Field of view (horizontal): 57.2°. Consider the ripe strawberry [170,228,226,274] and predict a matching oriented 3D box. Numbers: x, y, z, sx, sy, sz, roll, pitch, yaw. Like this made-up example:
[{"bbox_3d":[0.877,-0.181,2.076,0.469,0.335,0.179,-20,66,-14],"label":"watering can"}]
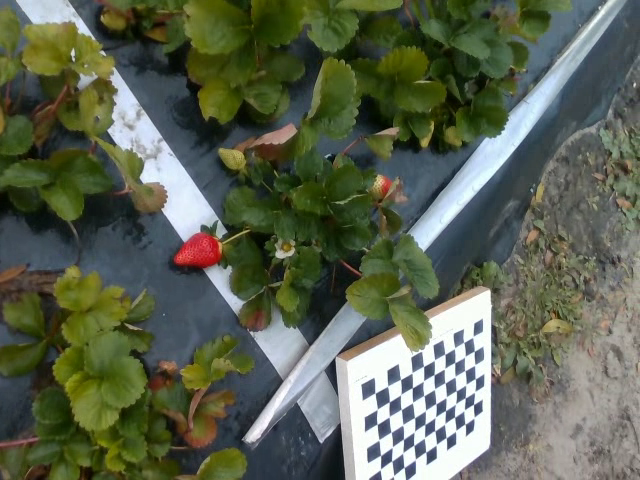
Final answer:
[{"bbox_3d":[-0.123,0.013,0.573,0.051,0.042,0.037,-23,28,-35],"label":"ripe strawberry"}]
